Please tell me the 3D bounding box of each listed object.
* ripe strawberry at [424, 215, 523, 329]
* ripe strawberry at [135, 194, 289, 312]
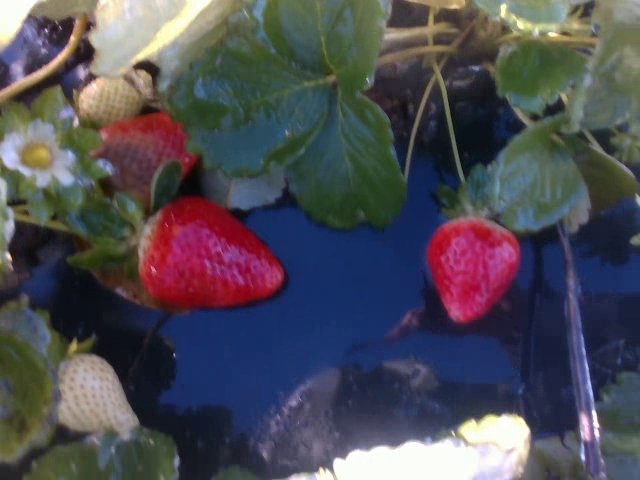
[{"bbox_3d":[0.057,0.013,0.232,0.039,0.047,0.040,13,-9,-10],"label":"ripe strawberry"},{"bbox_3d":[-0.037,0.010,0.231,0.056,0.044,0.040,25,0,-10],"label":"ripe strawberry"}]
